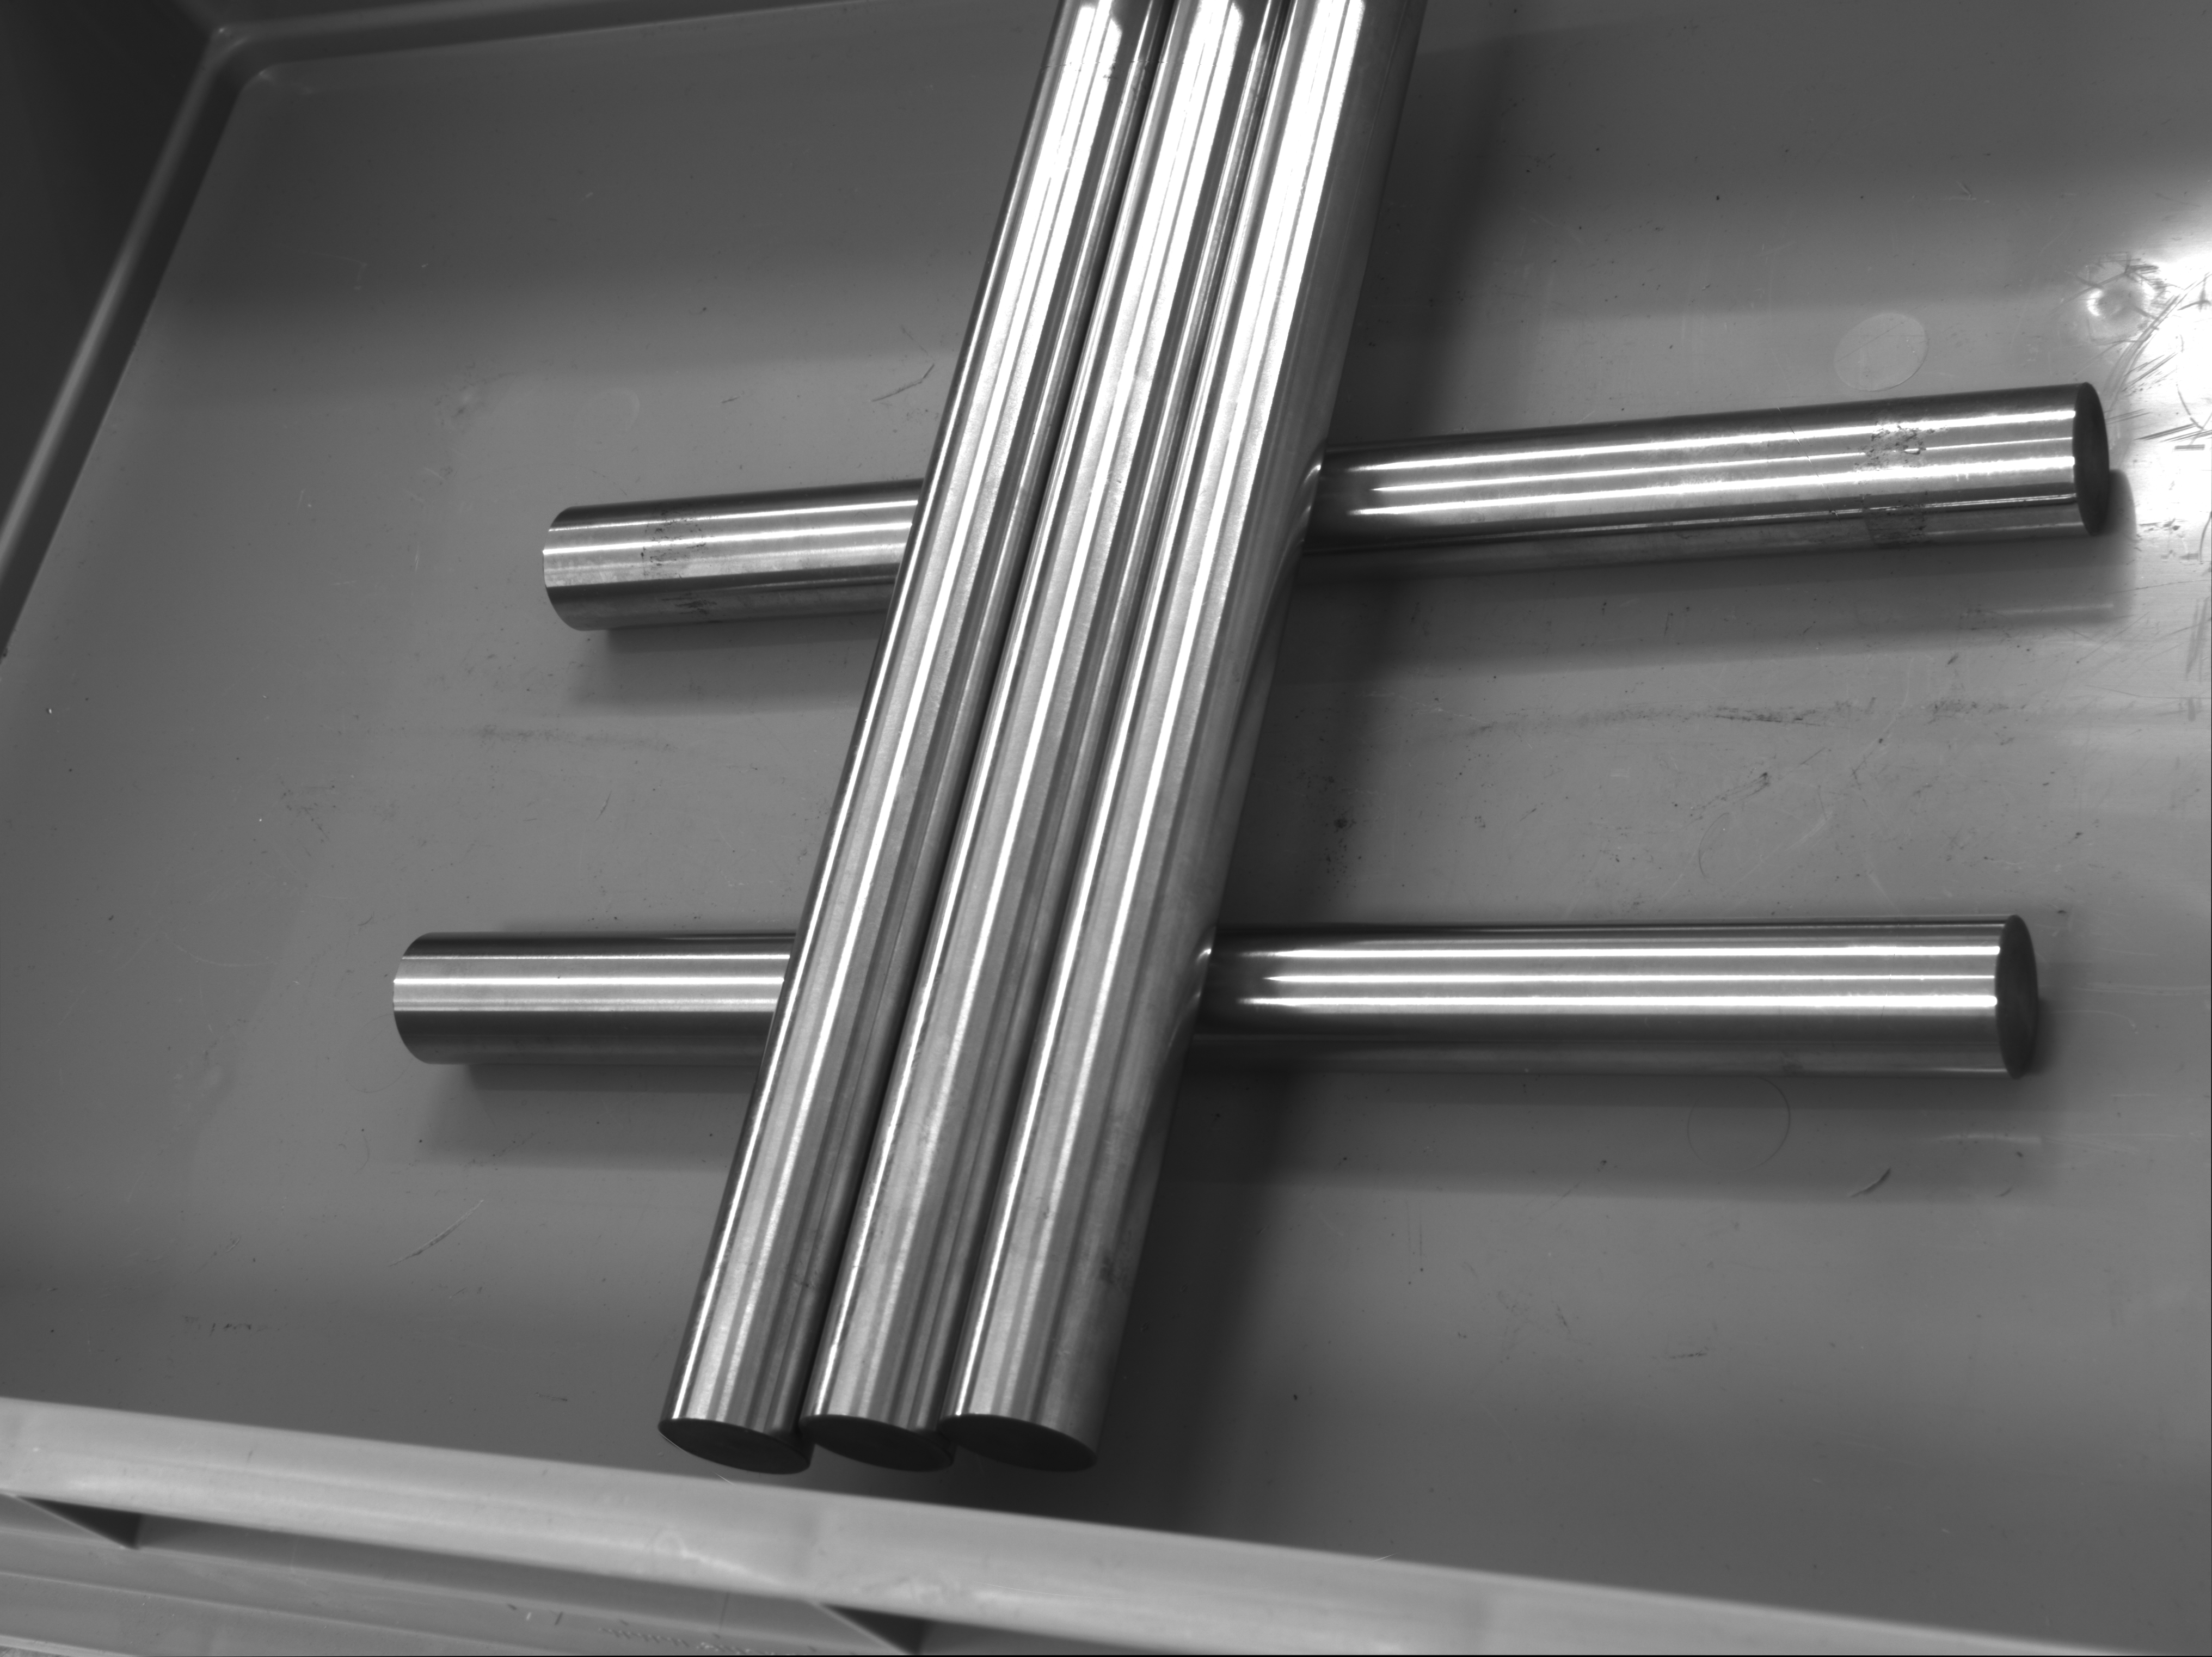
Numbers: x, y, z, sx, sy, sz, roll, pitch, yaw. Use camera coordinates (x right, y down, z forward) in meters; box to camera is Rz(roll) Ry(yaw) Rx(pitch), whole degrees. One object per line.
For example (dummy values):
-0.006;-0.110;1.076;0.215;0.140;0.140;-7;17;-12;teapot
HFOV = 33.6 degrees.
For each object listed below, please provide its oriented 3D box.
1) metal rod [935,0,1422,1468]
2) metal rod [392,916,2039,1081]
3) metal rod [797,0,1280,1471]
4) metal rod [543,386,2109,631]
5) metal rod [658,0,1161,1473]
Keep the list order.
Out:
0.018;-0.039;0.624;0.025;0.025;0.300;-1;61;28;metal rod
0.005;0.029;0.623;0.299;0.025;0.025;-1;61;28;metal rod
-0.004;-0.036;0.635;0.025;0.025;0.300;-1;61;28;metal rod
0.027;-0.055;0.664;0.299;0.025;0.025;-2;61;28;metal rod
-0.027;-0.034;0.646;0.025;0.025;0.300;-1;61;28;metal rod
